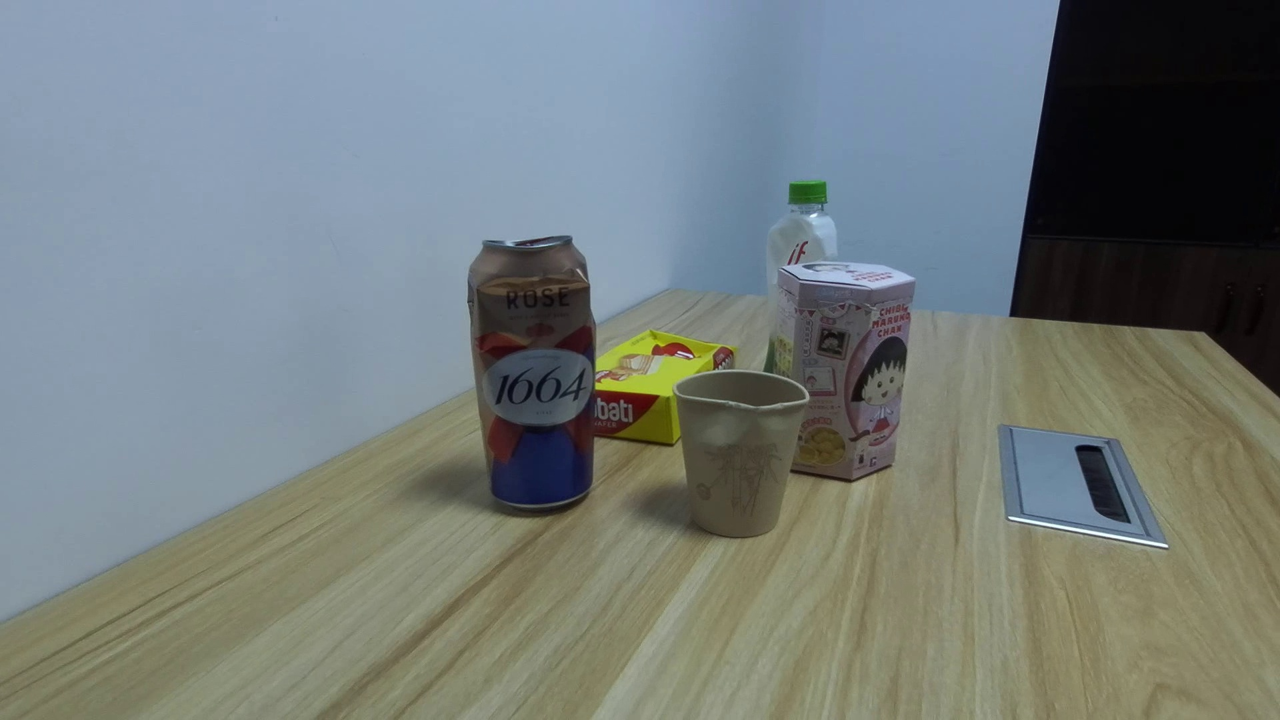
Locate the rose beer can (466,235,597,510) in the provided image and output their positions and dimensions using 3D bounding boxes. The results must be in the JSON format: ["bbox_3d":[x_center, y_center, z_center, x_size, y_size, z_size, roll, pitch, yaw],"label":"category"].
[{"bbox_3d":[-0.064,0.008,0.441,0.076,0.167,0.065,-3,16,1],"label":"rose beer can"}]

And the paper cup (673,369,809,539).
[{"bbox_3d":[0.058,0.056,0.419,0.073,0.081,0.068,-3,16,-14],"label":"paper cup"}]

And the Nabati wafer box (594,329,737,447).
[{"bbox_3d":[0.017,0.015,0.628,0.096,0.042,0.204,4,17,22],"label":"Nabati wafer box"}]

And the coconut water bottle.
[{"bbox_3d":[0.142,-0.058,0.606,0.067,0.187,0.067,-2,16,1],"label":"coconut water bottle"}]

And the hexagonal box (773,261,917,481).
[{"bbox_3d":[0.138,0.005,0.492,0.091,0.136,0.083,-13,22,-35],"label":"hexagonal box"}]
